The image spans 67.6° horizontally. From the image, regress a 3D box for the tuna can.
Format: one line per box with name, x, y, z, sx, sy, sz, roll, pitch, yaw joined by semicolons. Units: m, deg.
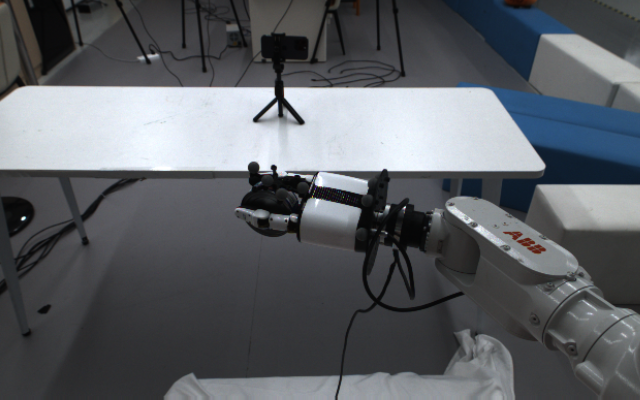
tuna can;-0.074;0.013;0.742;0.085;0.085;0.034;12;33;14
